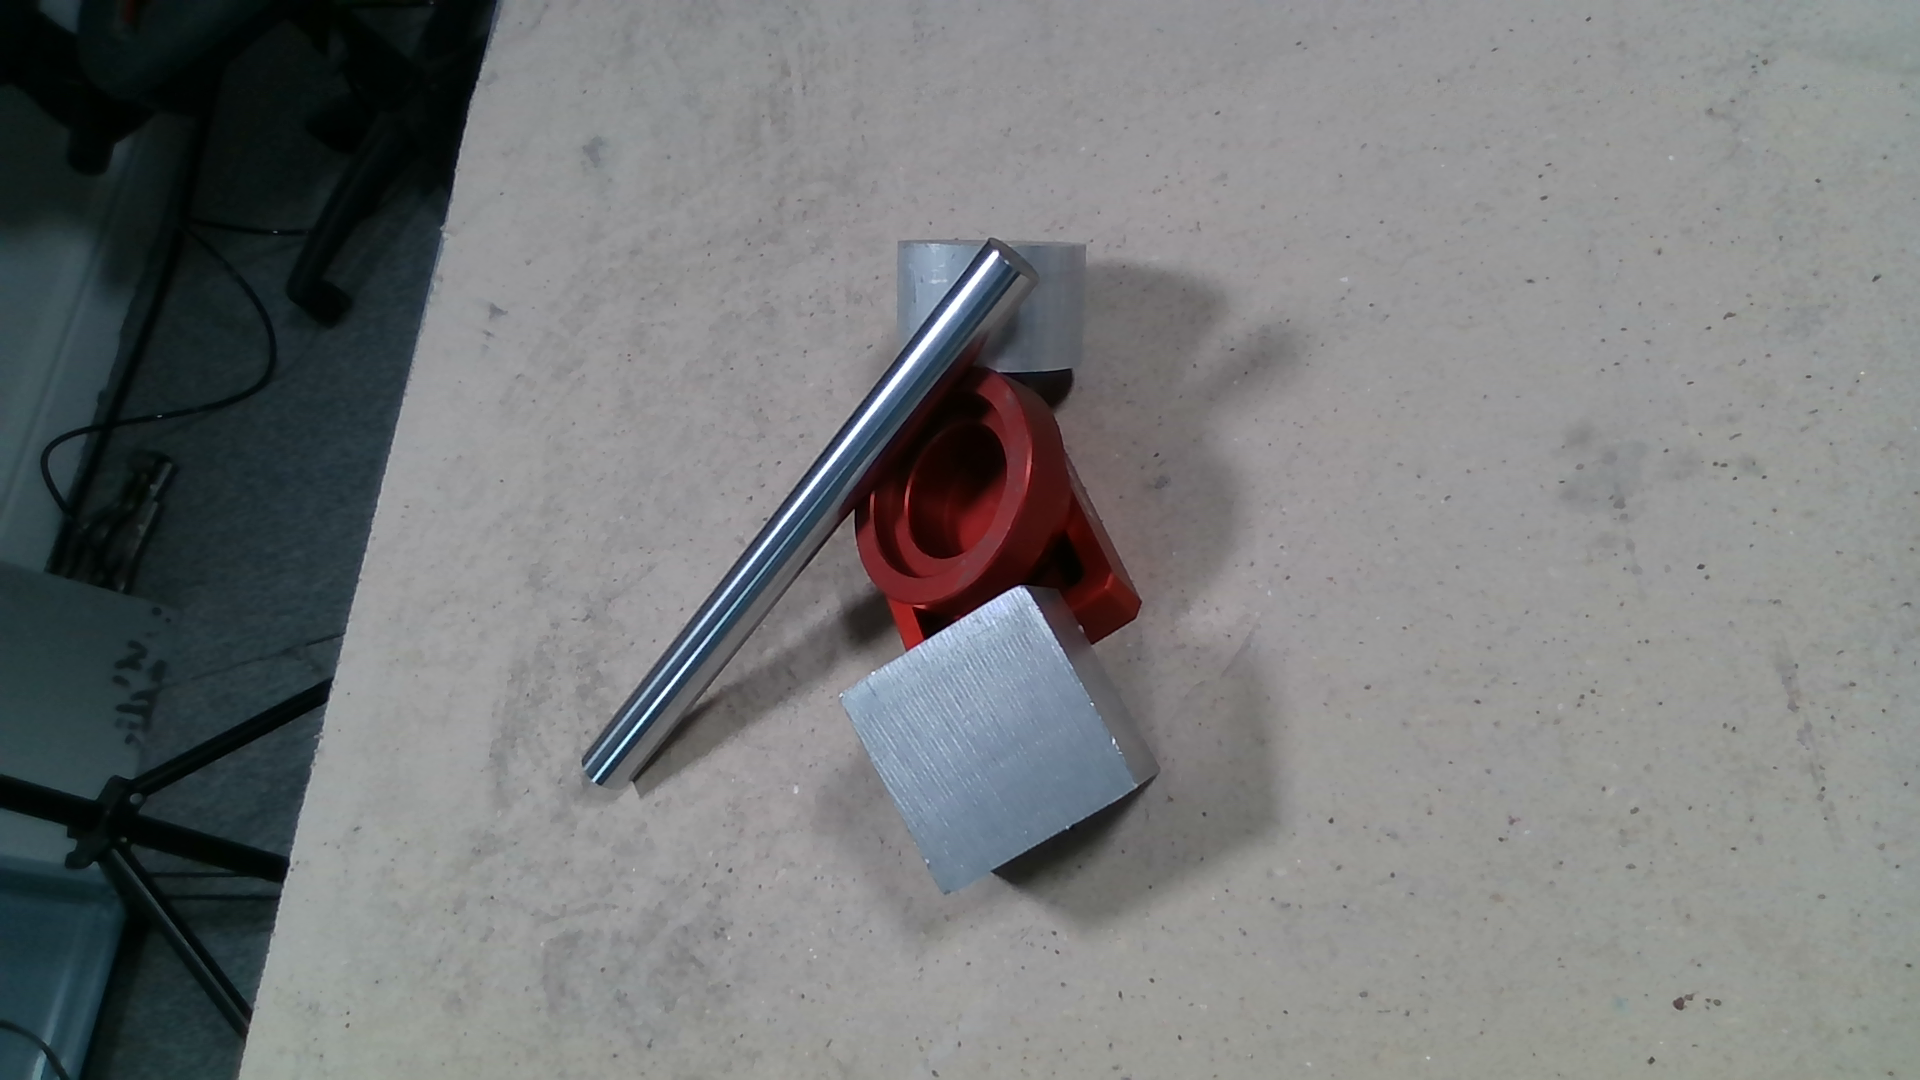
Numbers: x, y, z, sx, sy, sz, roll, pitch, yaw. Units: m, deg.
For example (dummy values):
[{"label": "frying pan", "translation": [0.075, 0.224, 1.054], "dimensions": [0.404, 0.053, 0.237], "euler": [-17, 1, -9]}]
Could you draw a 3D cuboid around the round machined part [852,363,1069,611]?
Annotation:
[{"label": "round machined part", "translation": [0.005, -0.018, 0.550], "dimensions": [0.098, 0.042, 0.098], "euler": [-20, 61, 40]}]

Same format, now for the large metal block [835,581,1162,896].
[{"label": "large metal block", "translation": [0.015, 0.070, 0.501], "dimensions": [0.080, 0.050, 0.080], "euler": [-32, 79, 13]}]

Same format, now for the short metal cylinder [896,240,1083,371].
[{"label": "short metal cylinder", "translation": [0.013, -0.102, 0.588], "dimensions": [0.080, 0.080, 0.050], "euler": [11, 107, 35]}]

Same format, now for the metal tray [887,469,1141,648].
[{"label": "metal tray", "translation": [0.009, -0.003, 0.578], "dimensions": [0.090, 0.030, 0.130], "euler": [-33, 53, 13]}]

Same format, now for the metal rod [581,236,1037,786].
[{"label": "metal rod", "translation": [-0.072, -0.002, 0.574], "dimensions": [0.301, 0.025, 0.025], "euler": [-49, 49, 23]}]
